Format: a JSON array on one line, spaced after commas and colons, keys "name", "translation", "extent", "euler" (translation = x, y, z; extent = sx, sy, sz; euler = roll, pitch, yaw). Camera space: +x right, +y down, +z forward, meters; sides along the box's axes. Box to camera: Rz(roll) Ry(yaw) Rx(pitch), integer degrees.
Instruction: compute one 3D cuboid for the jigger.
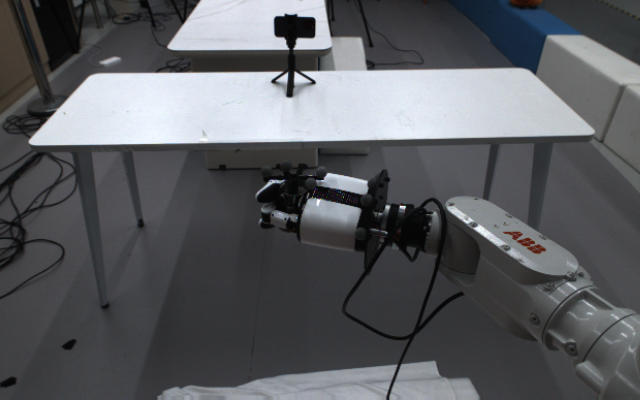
[{"name": "jigger", "translation": [-0.039, 0.009, 0.744], "extent": [0.043, 0.071, 0.043], "euler": [4, 31, -2]}]
